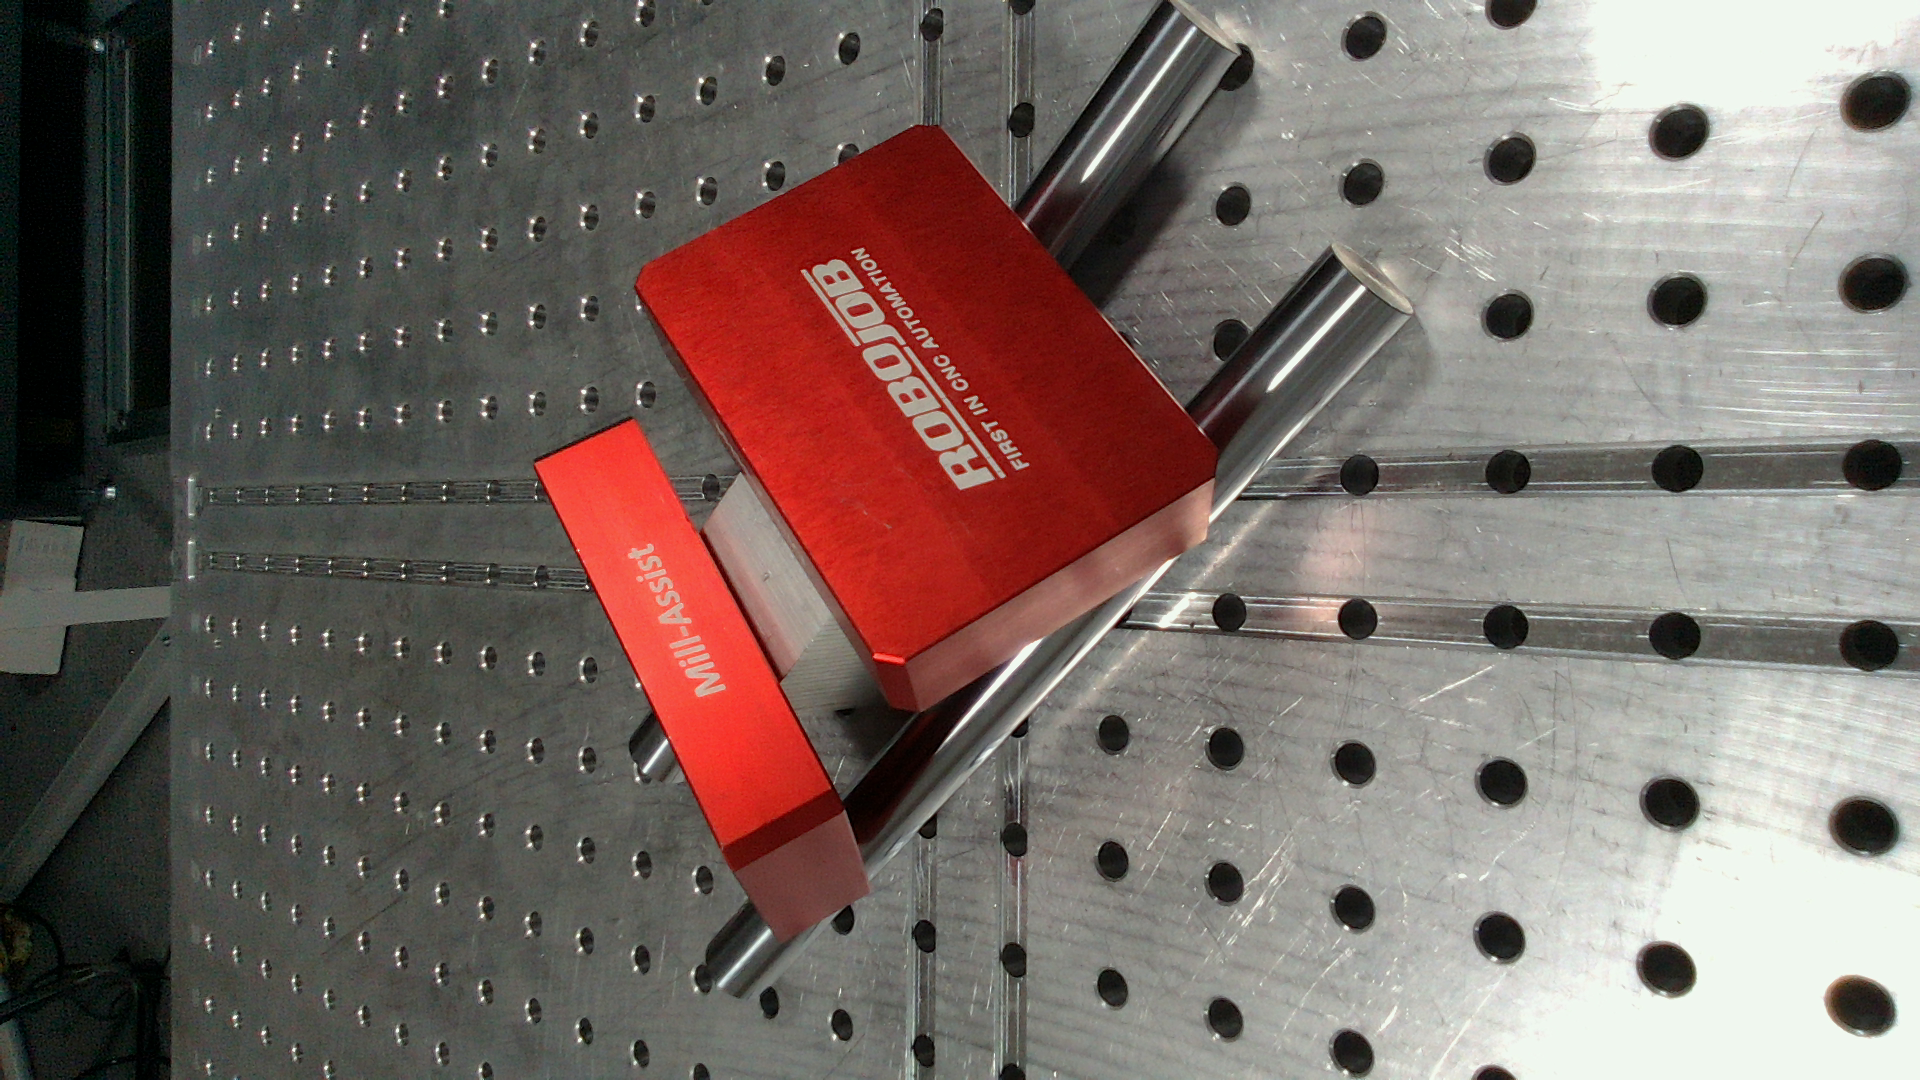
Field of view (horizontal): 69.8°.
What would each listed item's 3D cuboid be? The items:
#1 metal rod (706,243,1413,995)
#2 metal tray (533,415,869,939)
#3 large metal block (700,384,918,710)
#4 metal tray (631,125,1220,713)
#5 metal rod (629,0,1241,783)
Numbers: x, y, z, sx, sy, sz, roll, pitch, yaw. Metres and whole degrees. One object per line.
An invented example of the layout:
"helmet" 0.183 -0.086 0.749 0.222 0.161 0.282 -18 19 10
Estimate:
"metal rod" 0.011 0.040 0.389 0.299 0.025 0.025 -50 60 28
"metal tray" -0.071 0.040 0.387 0.130 0.030 0.090 57 167 24
"large metal block" -0.019 0.000 0.377 0.080 0.080 0.050 -50 60 28
"metal tray" -0.011 -0.035 0.335 0.090 0.030 0.130 -30 63 -11
"metal rod" -0.022 -0.027 0.417 0.299 0.025 0.025 -51 60 28
